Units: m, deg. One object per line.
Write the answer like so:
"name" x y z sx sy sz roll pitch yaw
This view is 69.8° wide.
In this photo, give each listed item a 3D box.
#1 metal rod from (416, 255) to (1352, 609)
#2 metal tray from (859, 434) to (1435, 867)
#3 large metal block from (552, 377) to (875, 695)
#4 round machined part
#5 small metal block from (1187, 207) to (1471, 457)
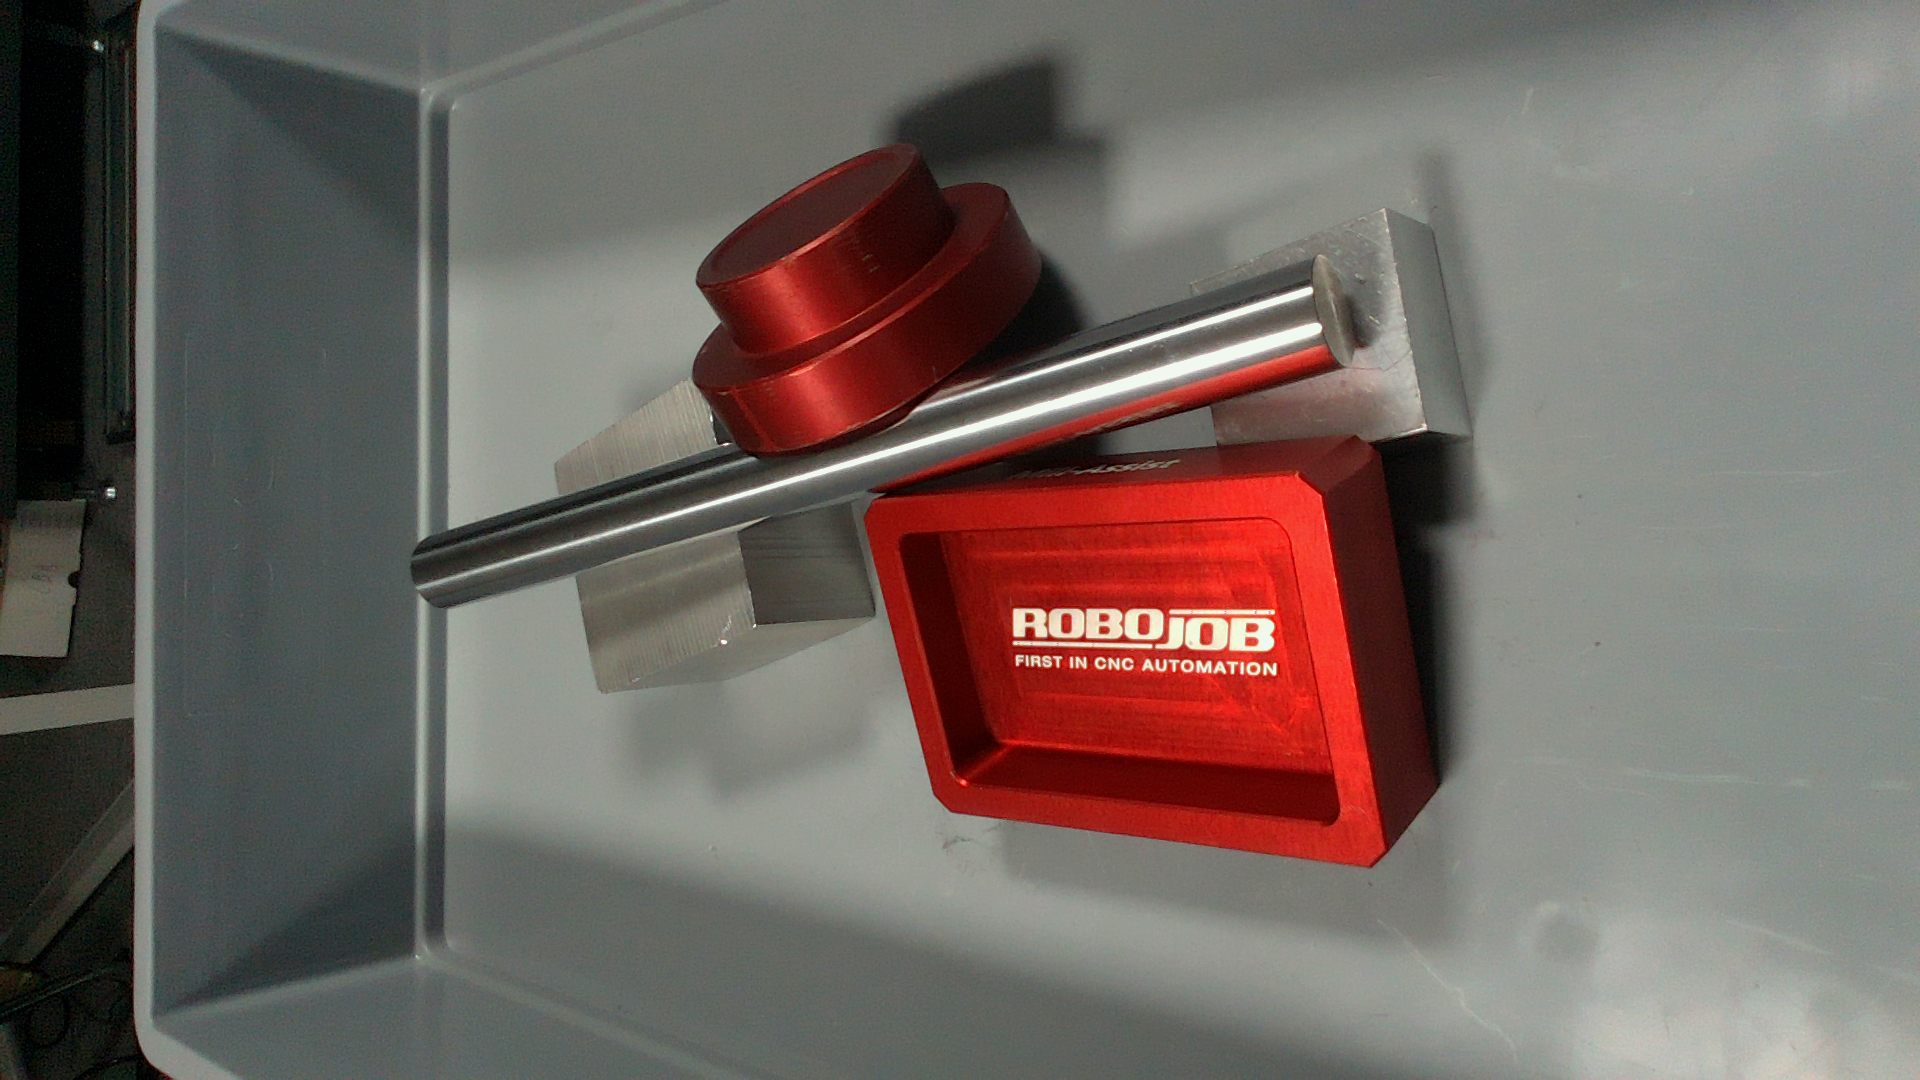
"metal rod" -0.044 -0.019 0.372 0.299 0.025 0.025 -13 81 32
"metal tray" 0.041 0.026 0.337 0.129 0.030 0.090 -2 108 40
"large metal block" -0.081 -0.001 0.444 0.080 0.050 0.080 -23 75 38
"round machined part" -0.031 -0.070 0.369 0.098 0.098 0.042 -6 127 40
"small metal block" 0.085 -0.043 0.321 0.050 0.025 0.050 -15 80 39
